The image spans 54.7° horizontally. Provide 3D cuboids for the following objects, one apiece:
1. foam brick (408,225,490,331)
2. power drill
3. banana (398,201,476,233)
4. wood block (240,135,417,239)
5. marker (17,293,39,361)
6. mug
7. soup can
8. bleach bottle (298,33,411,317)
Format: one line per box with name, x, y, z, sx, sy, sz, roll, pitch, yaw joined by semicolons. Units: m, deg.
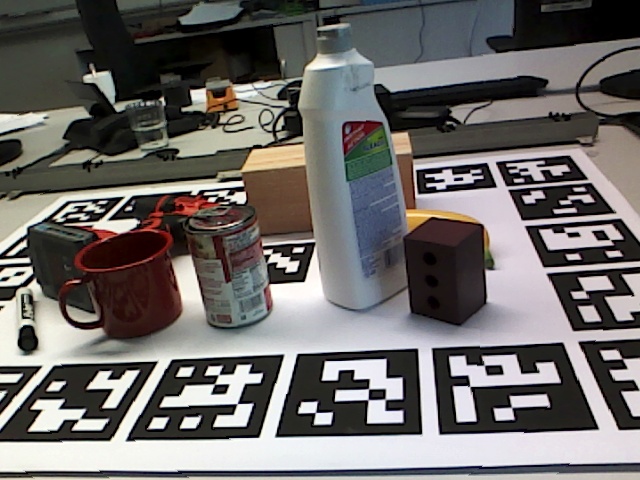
foam brick;0.116;0.033;0.552;0.053;0.078;0.051;11;29;40
power drill;-0.222;0.004;0.754;0.186;0.057;0.186;13;31;33
banana;0.089;-0.015;0.699;0.198;0.038;0.074;5;42;22
wood block;0.015;-0.068;0.782;0.206;0.090;0.090;-5;26;8
marker;-0.302;0.088;0.638;0.019;0.019;0.122;-20;28;-17
mug;-0.192;0.048;0.608;0.117;0.081;0.094;-29;34;-32
soup can;-0.086;0.024;0.589;0.068;0.102;0.068;-6;21;2
bleach bottle;0.031;-0.060;0.569;0.068;0.250;0.102;9;29;35
